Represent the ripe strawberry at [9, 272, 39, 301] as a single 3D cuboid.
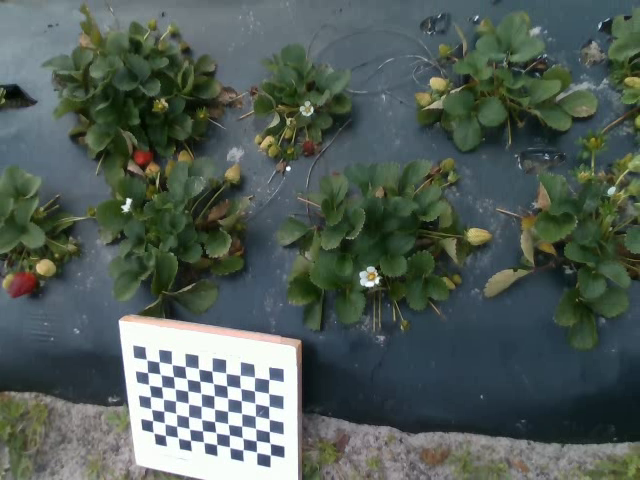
[{"bbox_3d":[-0.528,0.085,1.131,0.046,0.046,0.059,1,40,19],"label":"ripe strawberry"}]
